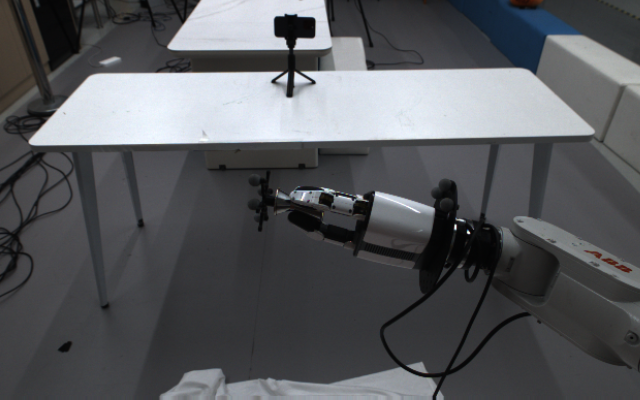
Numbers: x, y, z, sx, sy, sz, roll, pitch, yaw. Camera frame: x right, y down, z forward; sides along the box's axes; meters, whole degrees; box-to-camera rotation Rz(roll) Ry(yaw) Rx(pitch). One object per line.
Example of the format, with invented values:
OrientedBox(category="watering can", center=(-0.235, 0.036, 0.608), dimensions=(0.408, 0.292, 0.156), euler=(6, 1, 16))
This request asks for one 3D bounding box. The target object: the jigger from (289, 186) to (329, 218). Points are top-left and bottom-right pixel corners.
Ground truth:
OrientedBox(category="jigger", center=(-0.021, 0.002, 0.683), dimensions=(0.071, 0.043, 0.043), euler=(5, 35, 2))
